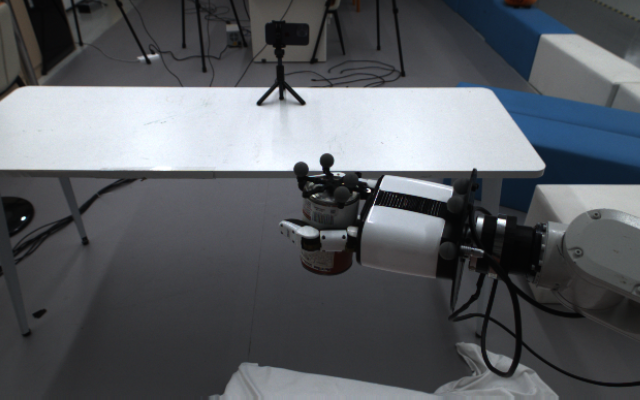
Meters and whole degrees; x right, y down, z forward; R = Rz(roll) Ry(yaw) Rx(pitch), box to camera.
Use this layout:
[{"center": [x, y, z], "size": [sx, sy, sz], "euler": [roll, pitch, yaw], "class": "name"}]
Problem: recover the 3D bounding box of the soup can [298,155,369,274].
[{"center": [0.012, 0.030, 0.581], "size": [0.067, 0.101, 0.067], "euler": [3, 30, -2], "class": "soup can"}]
